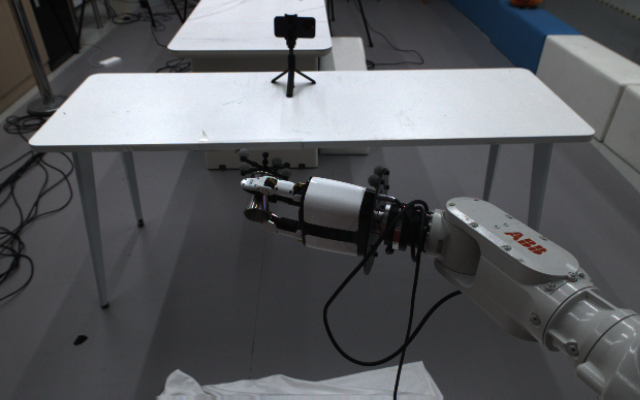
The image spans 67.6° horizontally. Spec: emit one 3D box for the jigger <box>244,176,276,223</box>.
[{"bbox_3d":[-0.094,-0.008,0.746,0.043,0.043,0.071,4,60,3],"label":"jigger"}]
